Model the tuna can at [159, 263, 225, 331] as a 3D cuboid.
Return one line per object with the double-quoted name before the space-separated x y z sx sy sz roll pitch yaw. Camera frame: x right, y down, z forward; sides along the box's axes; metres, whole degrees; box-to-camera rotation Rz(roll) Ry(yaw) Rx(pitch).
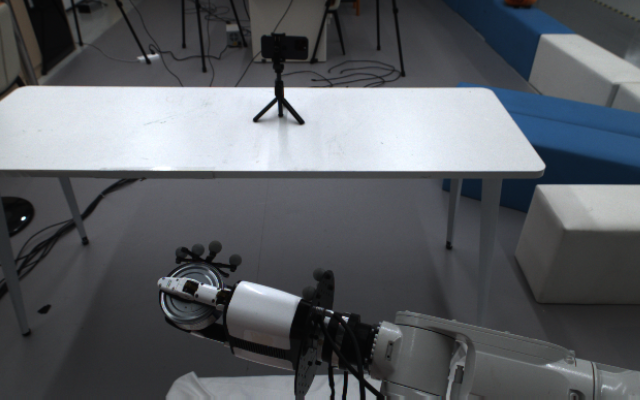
"tuna can" -0.165 0.127 0.641 0.085 0.034 0.085 -3 57 4
